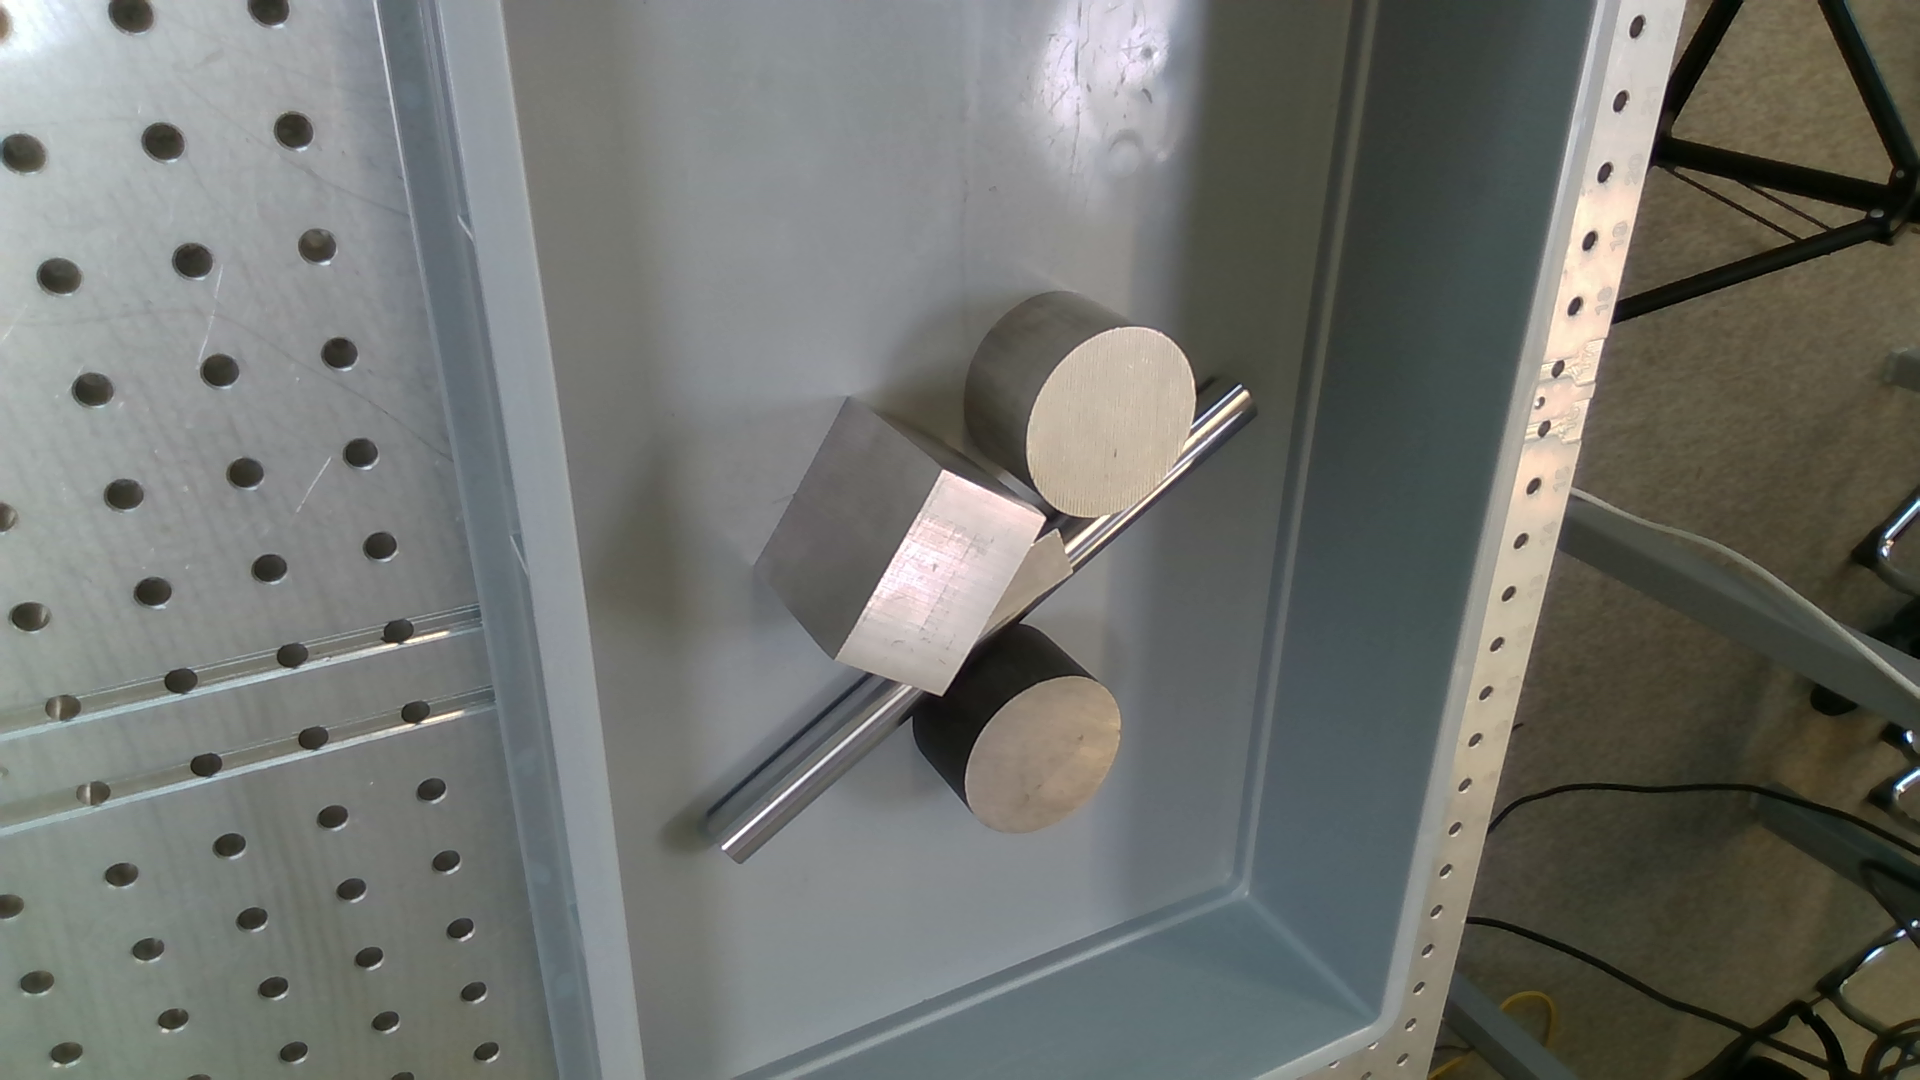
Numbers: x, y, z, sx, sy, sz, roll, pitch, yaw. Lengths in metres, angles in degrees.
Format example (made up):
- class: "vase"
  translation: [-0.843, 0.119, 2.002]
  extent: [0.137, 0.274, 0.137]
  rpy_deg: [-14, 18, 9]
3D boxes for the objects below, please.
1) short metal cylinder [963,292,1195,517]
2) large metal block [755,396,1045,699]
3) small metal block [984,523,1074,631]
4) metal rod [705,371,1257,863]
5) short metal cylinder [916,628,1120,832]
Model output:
- class: "short metal cylinder"
  translation: [0.048, -0.056, 0.563]
  extent: [0.080, 0.050, 0.080]
  rpy_deg: [-14, 122, -25]
- class: "large metal block"
  translation: [-0.025, 0.002, 0.529]
  extent: [0.050, 0.080, 0.080]
  rpy_deg: [23, 101, -37]
- class: "small metal block"
  translation: [0.010, 0.007, 0.573]
  extent: [0.050, 0.050, 0.025]
  rpy_deg: [-33, 127, -13]
- class: "metal rod"
  translation: [0.012, 0.031, 0.604]
  extent: [0.300, 0.025, 0.025]
  rpy_deg: [-41, 129, -6]
- class: "short metal cylinder"
  translation: [0.025, 0.085, 0.625]
  extent: [0.080, 0.050, 0.080]
  rpy_deg: [-14, 122, -25]
